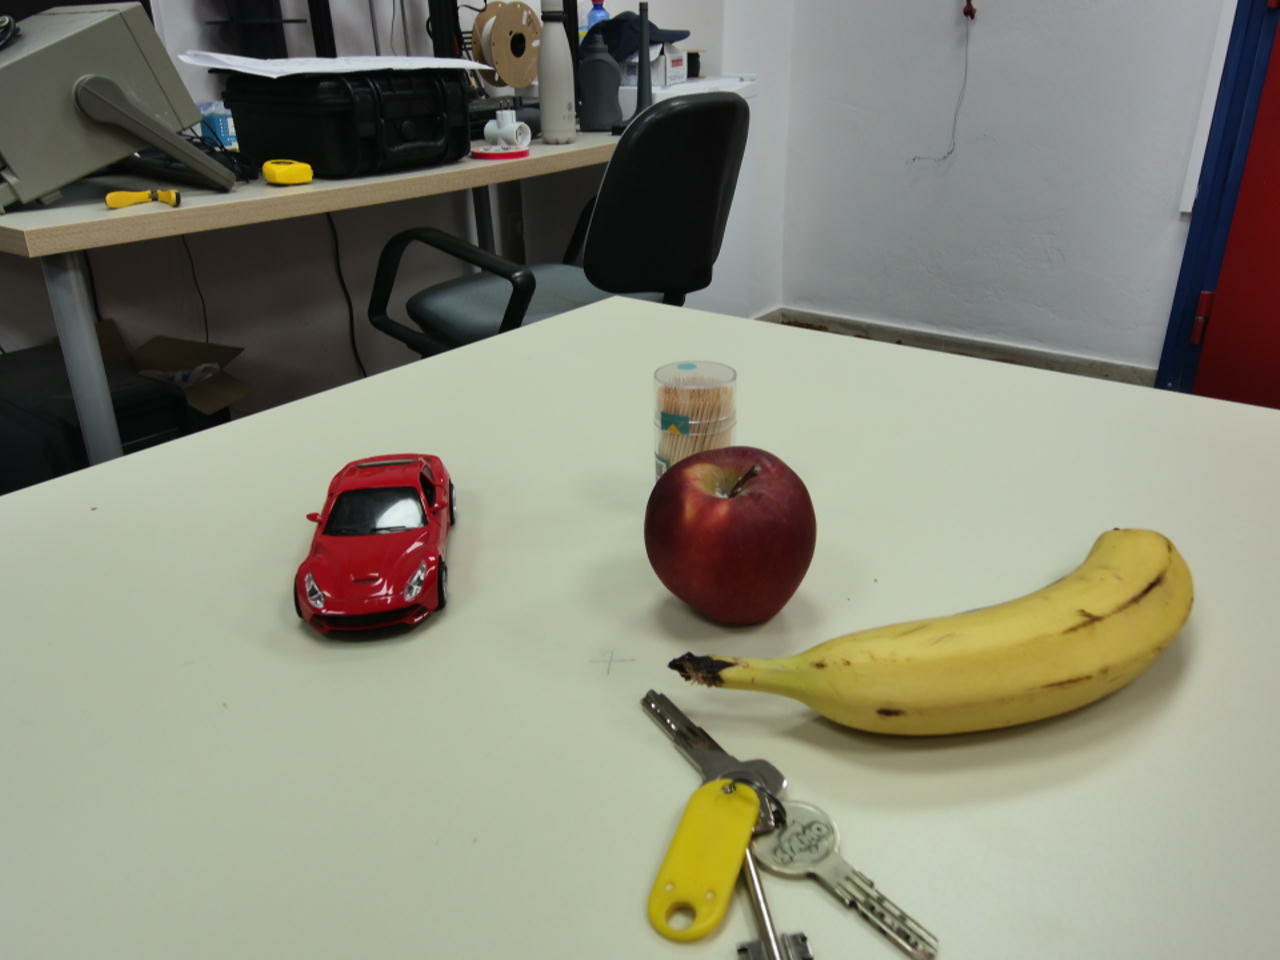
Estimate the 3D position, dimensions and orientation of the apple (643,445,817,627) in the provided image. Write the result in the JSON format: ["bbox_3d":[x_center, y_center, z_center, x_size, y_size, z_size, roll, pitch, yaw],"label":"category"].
[{"bbox_3d":[0.037,0.022,0.402,0.070,0.072,0.070,1,23,0],"label":"apple"}]
